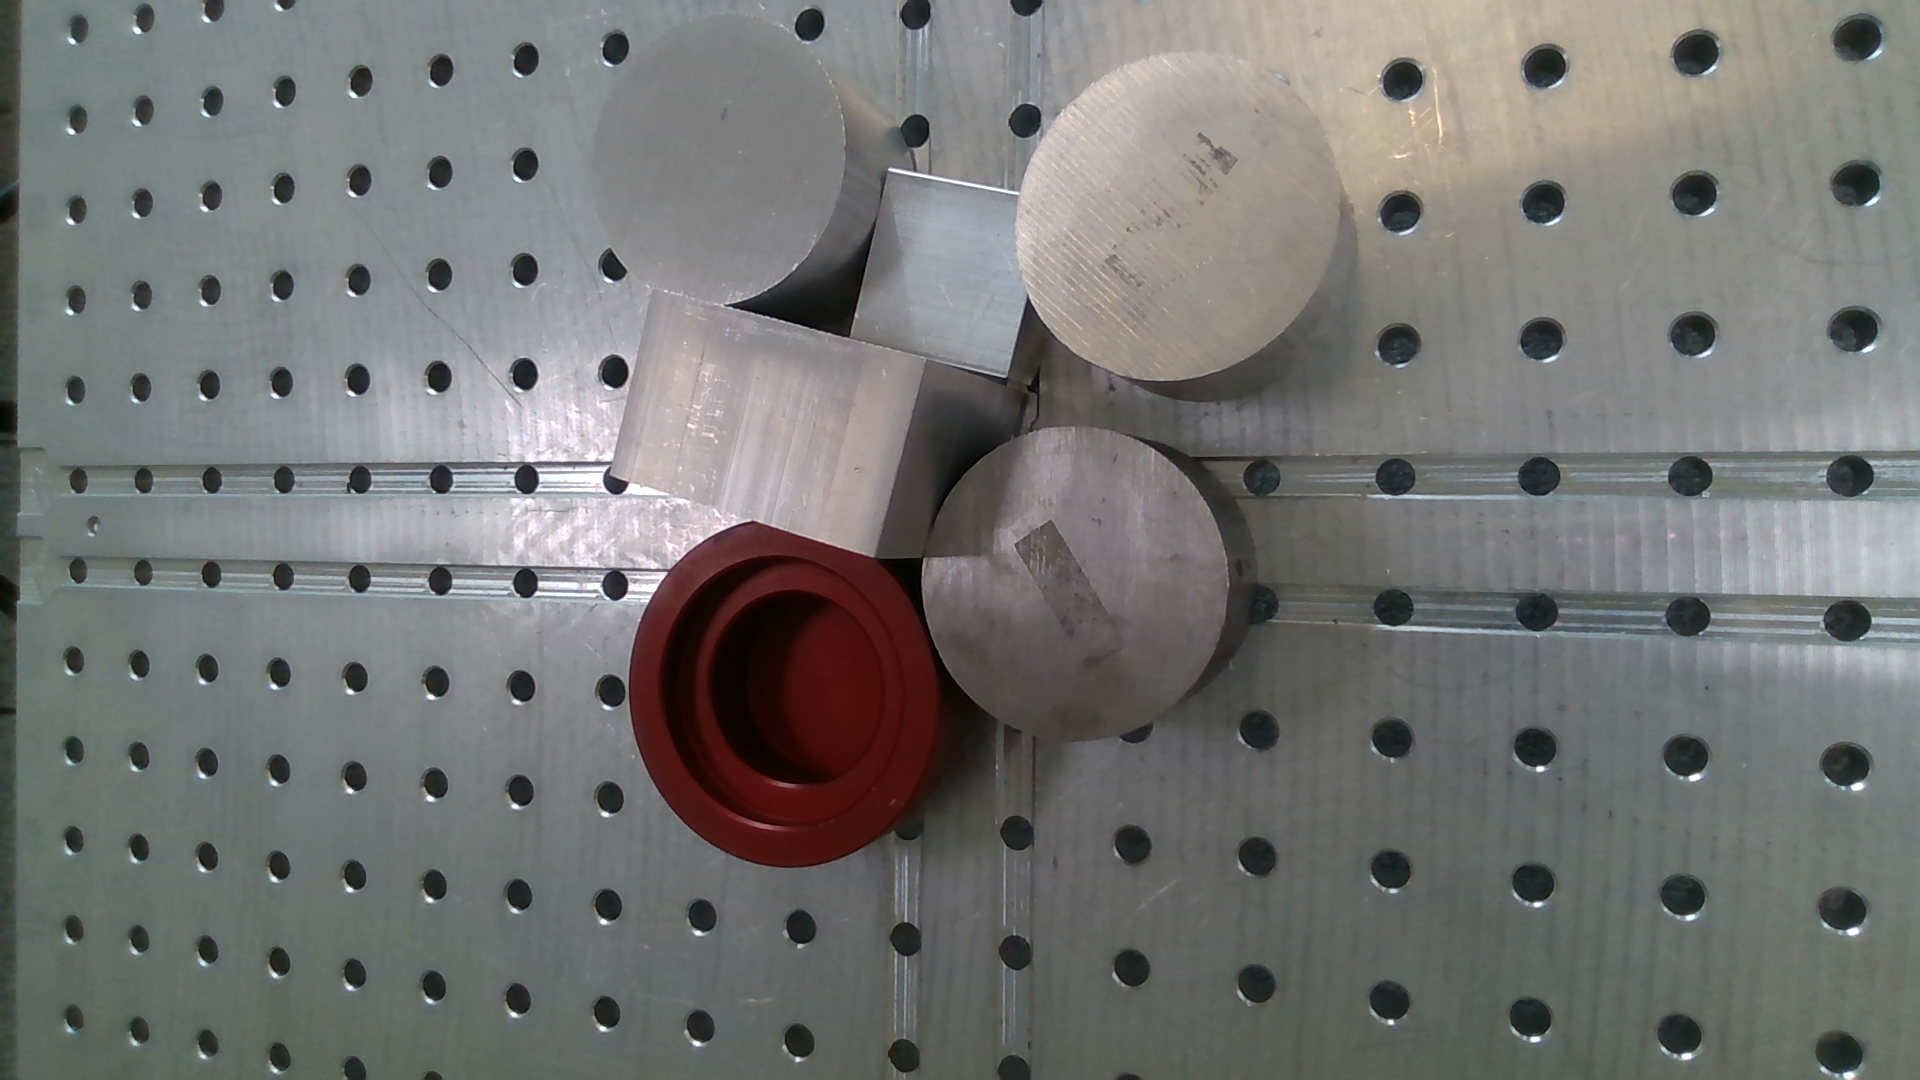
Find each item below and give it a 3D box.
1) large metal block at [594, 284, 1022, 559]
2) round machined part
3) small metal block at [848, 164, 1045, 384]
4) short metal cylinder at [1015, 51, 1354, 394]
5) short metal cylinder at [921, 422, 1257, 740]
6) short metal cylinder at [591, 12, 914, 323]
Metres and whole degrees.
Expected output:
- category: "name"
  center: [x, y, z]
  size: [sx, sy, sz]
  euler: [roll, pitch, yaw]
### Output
- category: "large metal block"
  center: [-0.038, -0.030, 0.378]
  size: [0.080, 0.080, 0.050]
  euler: [17, 96, 19]
- category: "round machined part"
  center: [-0.044, 0.042, 0.404]
  size: [0.098, 0.042, 0.098]
  euler: [0, 90, 20]
- category: "small metal block"
  center: [0.000, -0.076, 0.395]
  size: [0.050, 0.025, 0.050]
  euler: [16, 96, 19]
- category: "short metal cylinder"
  center: [0.060, -0.079, 0.360]
  size: [0.080, 0.050, 0.080]
  euler: [0, 90, 20]
- category: "short metal cylinder"
  center: [0.036, 0.010, 0.370]
  size: [0.080, 0.050, 0.080]
  euler: [0, 90, 20]
- category: "short metal cylinder"
  center: [-0.059, -0.105, 0.404]
  size: [0.080, 0.050, 0.080]
  euler: [0, 90, 20]
